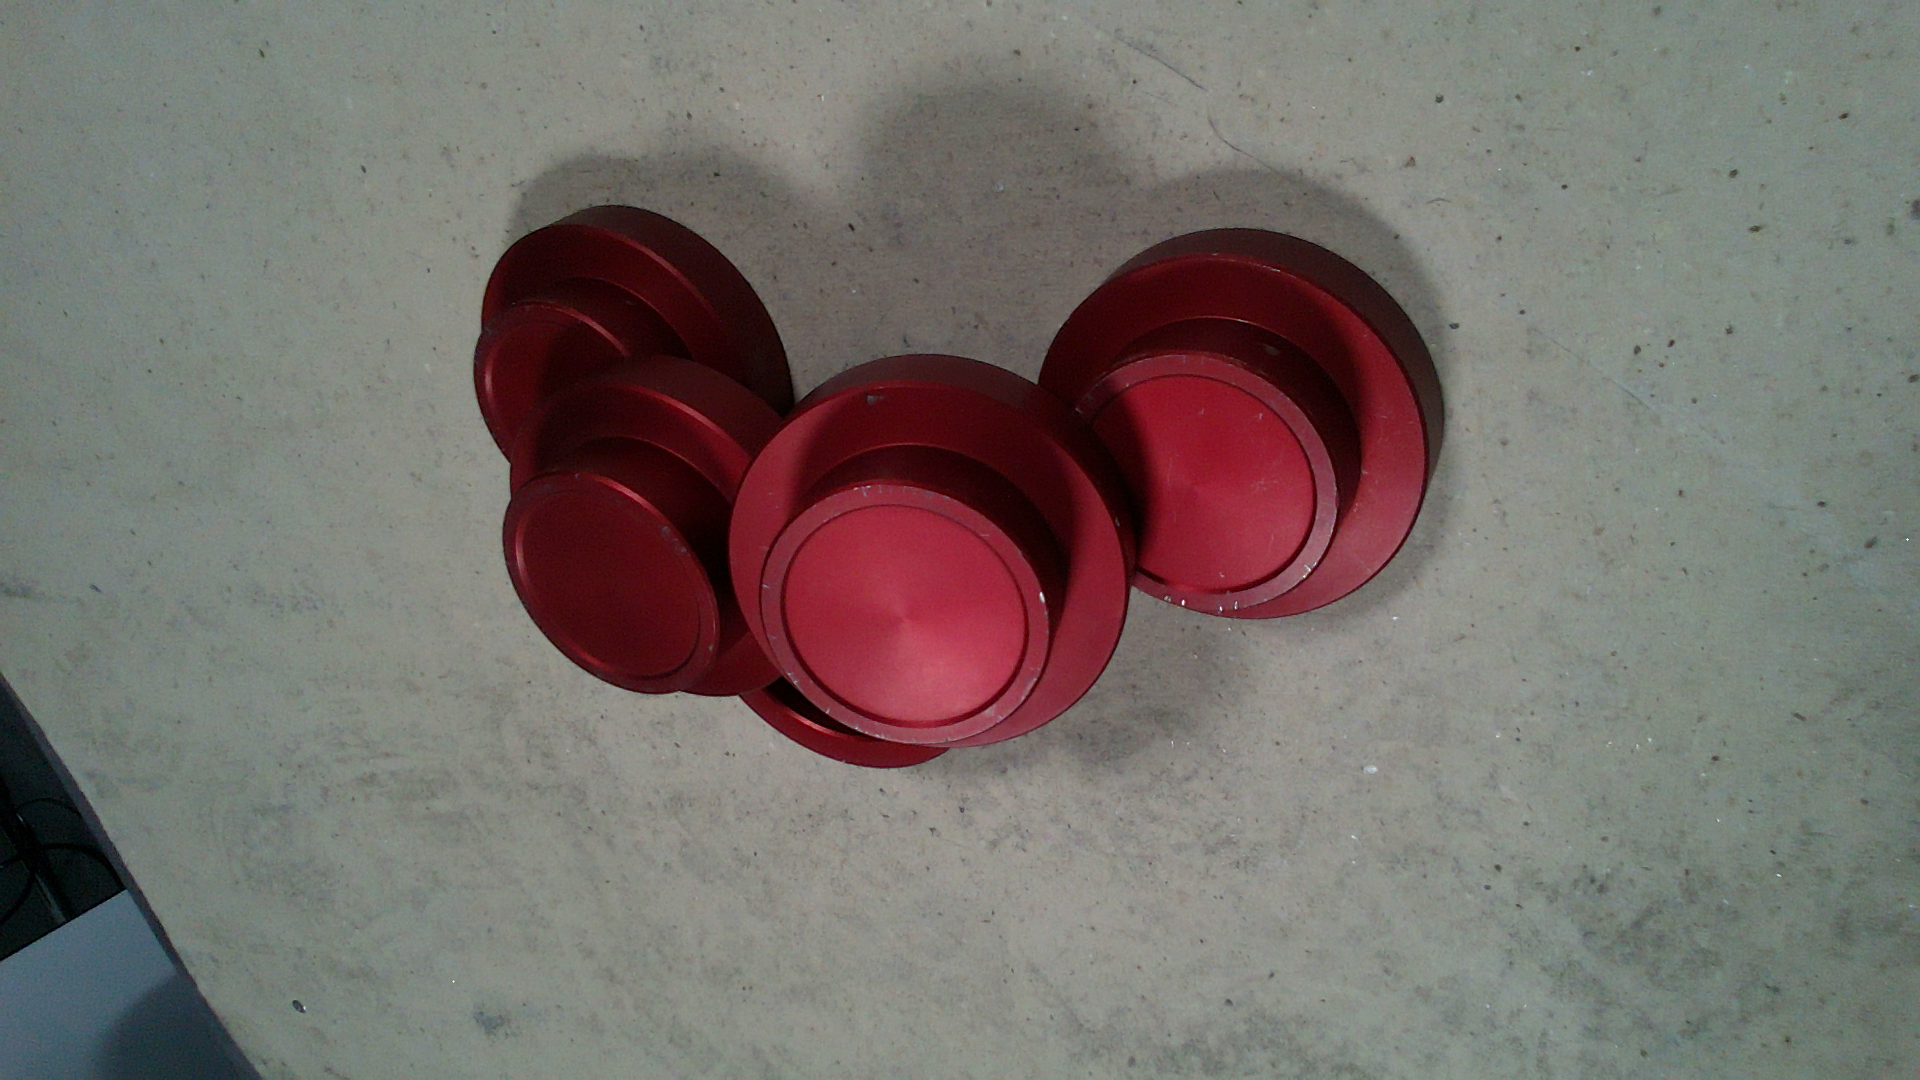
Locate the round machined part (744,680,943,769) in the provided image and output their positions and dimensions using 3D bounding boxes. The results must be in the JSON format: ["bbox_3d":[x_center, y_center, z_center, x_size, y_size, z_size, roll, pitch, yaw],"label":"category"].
[{"bbox_3d":[-0.030,0.016,0.408,0.098,0.042,0.098,13,124,21],"label":"round machined part"}]

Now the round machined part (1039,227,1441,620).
[{"bbox_3d":[0.063,-0.022,0.334,0.098,0.042,0.098,13,124,21],"label":"round machined part"}]

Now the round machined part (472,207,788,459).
[{"bbox_3d":[-0.104,-0.045,0.409,0.098,0.042,0.098,13,124,21],"label":"round machined part"}]

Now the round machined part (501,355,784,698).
[{"bbox_3d":[-0.084,0.003,0.374,0.098,0.042,0.098,13,124,21],"label":"round machined part"}]

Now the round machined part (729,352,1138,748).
[{"bbox_3d":[-0.009,0.009,0.324,0.098,0.042,0.098,5,117,11],"label":"round machined part"}]
